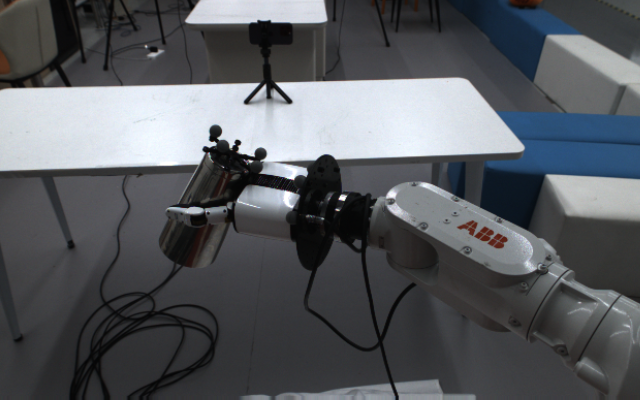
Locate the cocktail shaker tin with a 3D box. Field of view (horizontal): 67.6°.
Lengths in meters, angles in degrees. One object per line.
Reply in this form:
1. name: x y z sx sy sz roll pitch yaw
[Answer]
1. cocktail shaker tin: -0.163 0.005 0.711 0.093 0.170 0.093 25 29 -15
